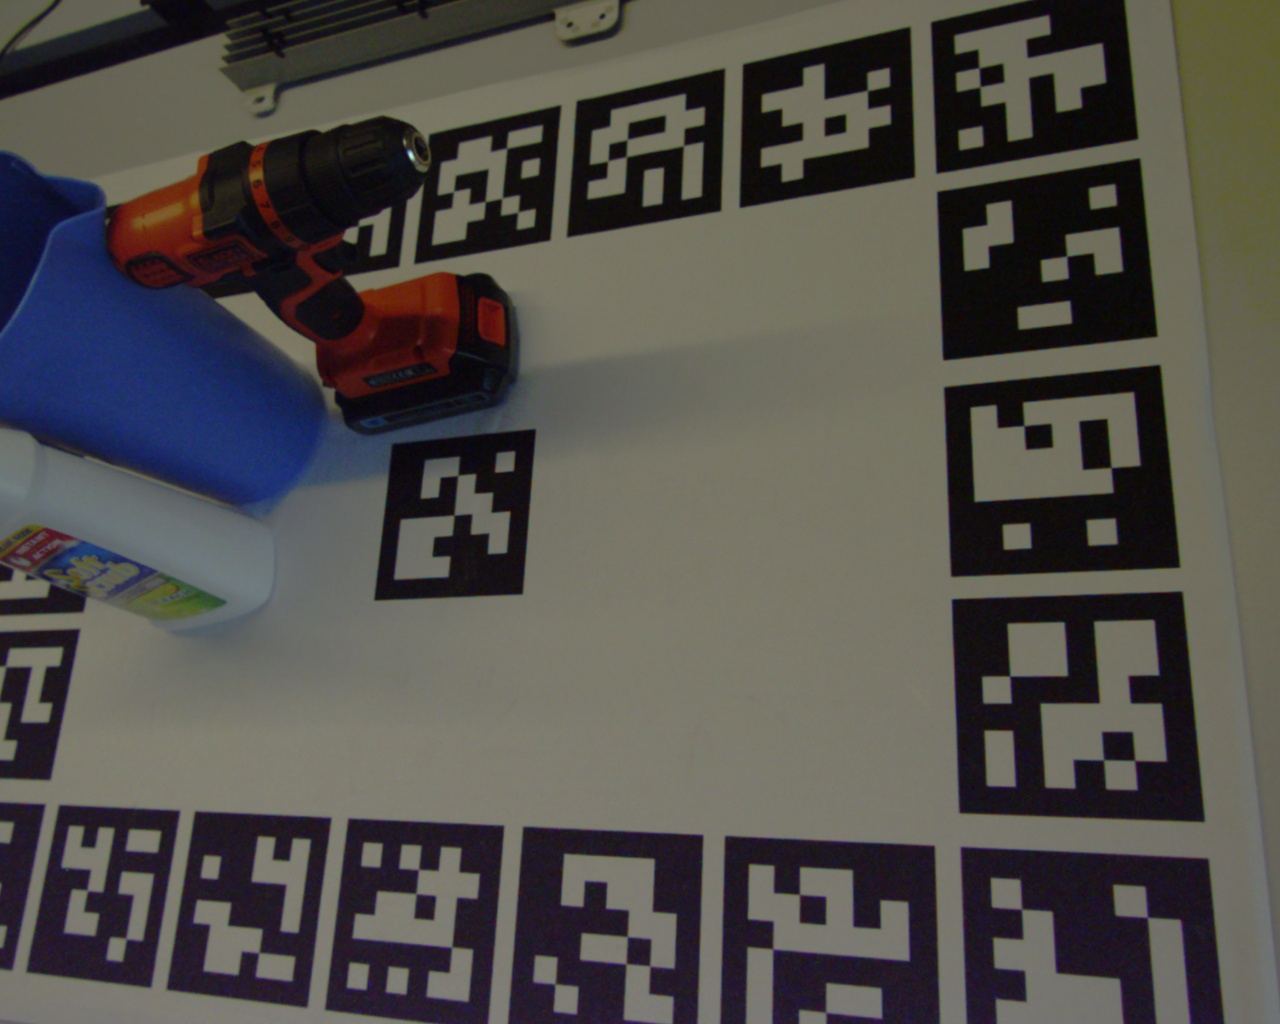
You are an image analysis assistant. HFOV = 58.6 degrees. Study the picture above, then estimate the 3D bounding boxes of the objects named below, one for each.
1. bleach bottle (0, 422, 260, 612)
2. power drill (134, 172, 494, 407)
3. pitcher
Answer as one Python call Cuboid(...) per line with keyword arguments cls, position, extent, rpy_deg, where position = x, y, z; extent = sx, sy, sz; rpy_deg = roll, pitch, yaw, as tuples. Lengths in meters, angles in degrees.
Cuboid(cls="bleach bottle", position=(-0.336, -0.001, 0.651), extent=(0.103, 0.248, 0.068), rpy_deg=(-12, 71, 20))
Cuboid(cls="power drill", position=(-0.154, -0.121, 0.641), extent=(0.186, 0.185, 0.057), rpy_deg=(-8, 75, 15))
Cuboid(cls="pitcher", position=(-0.314, -0.094, 0.692), extent=(0.190, 0.240, 0.134), rpy_deg=(-30, 67, 13))
